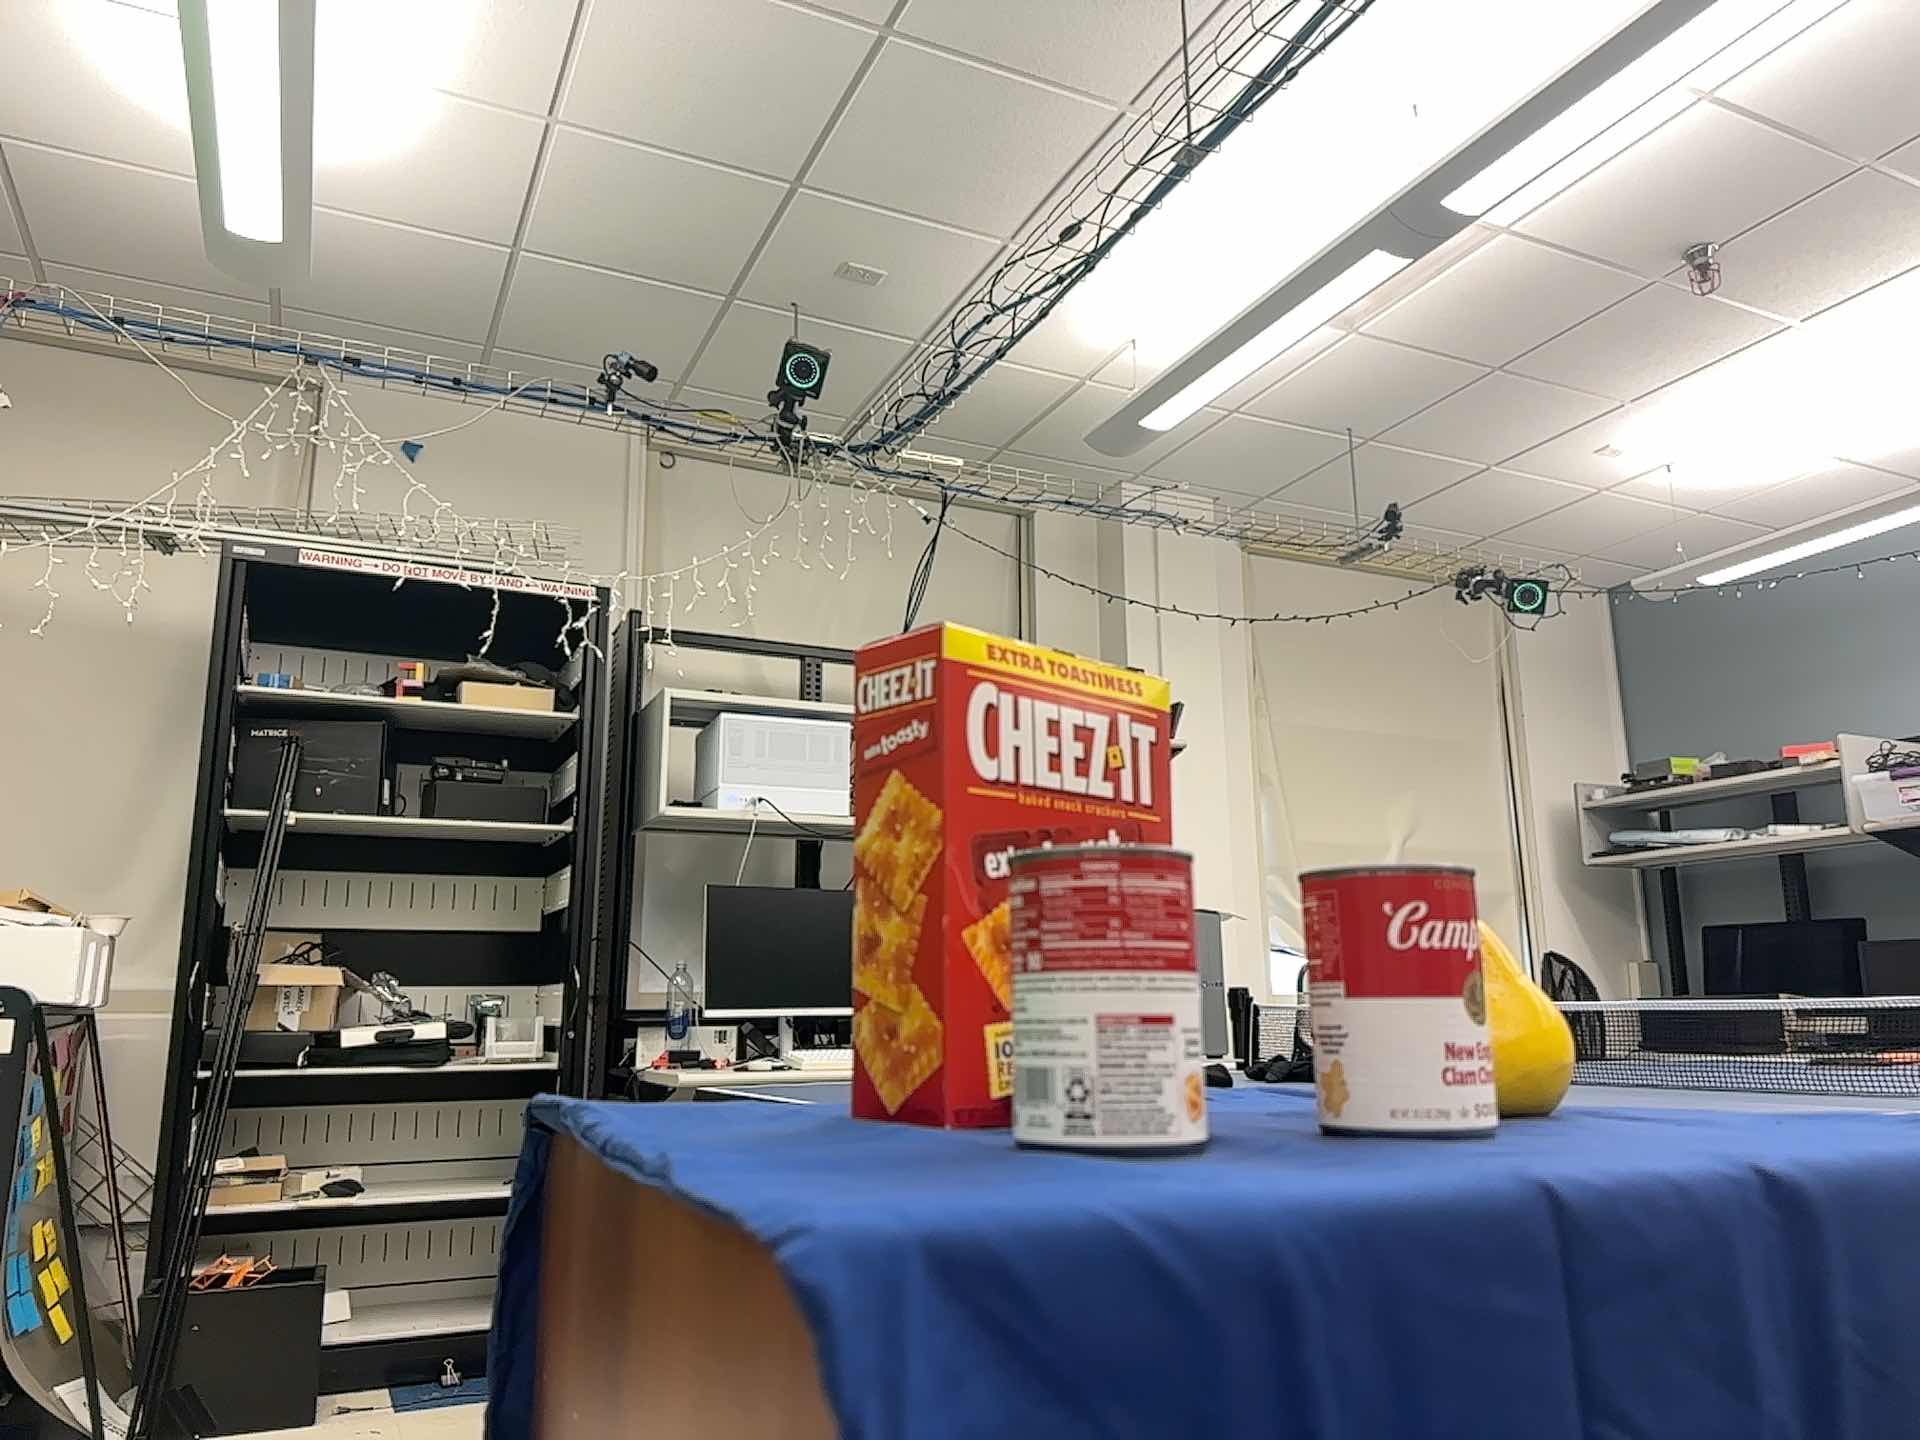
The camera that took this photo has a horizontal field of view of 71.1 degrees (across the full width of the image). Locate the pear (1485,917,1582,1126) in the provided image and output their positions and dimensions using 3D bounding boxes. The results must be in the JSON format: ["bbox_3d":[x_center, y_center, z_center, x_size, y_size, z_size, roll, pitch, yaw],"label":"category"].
[{"bbox_3d":[0.243,0.130,0.625,0.080,0.111,0.080,2,-12,0],"label":"pear"}]

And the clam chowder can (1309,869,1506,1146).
[{"bbox_3d":[0.177,0.113,0.535,0.068,0.102,0.068,0,-12,0],"label":"clam chowder can"}]

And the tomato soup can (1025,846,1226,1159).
[{"bbox_3d":[0.058,0.099,0.474,0.067,0.102,0.067,-1,-13,0],"label":"tomato soup can"}]

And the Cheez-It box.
[{"bbox_3d":[0.032,0.079,0.638,0.159,0.214,0.062,11,-15,-42],"label":"Cheez-It box"}]
